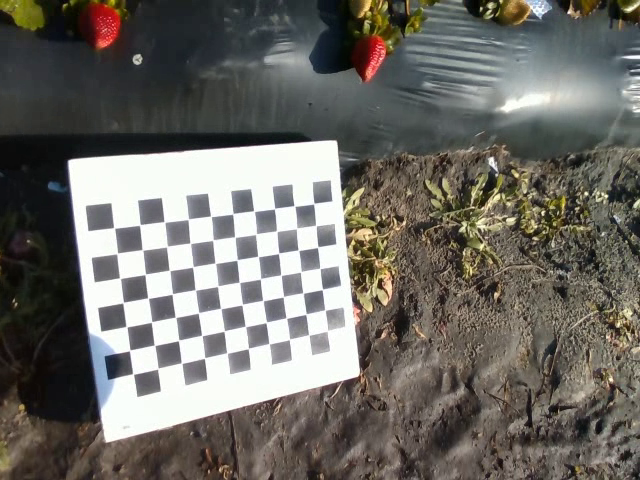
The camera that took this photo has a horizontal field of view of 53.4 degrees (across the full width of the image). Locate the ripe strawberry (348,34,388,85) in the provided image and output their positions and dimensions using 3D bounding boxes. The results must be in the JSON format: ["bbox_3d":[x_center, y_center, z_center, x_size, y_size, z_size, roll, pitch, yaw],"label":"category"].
[{"bbox_3d":[0.044,-0.181,0.645,0.042,0.059,0.042,17,-18,-30],"label":"ripe strawberry"}]

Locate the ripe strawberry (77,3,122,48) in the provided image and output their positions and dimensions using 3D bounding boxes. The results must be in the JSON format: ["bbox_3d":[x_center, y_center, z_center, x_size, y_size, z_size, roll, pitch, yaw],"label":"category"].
[{"bbox_3d":[-0.206,-0.185,0.555,0.045,0.055,0.042,1,-31,-31],"label":"ripe strawberry"}]
